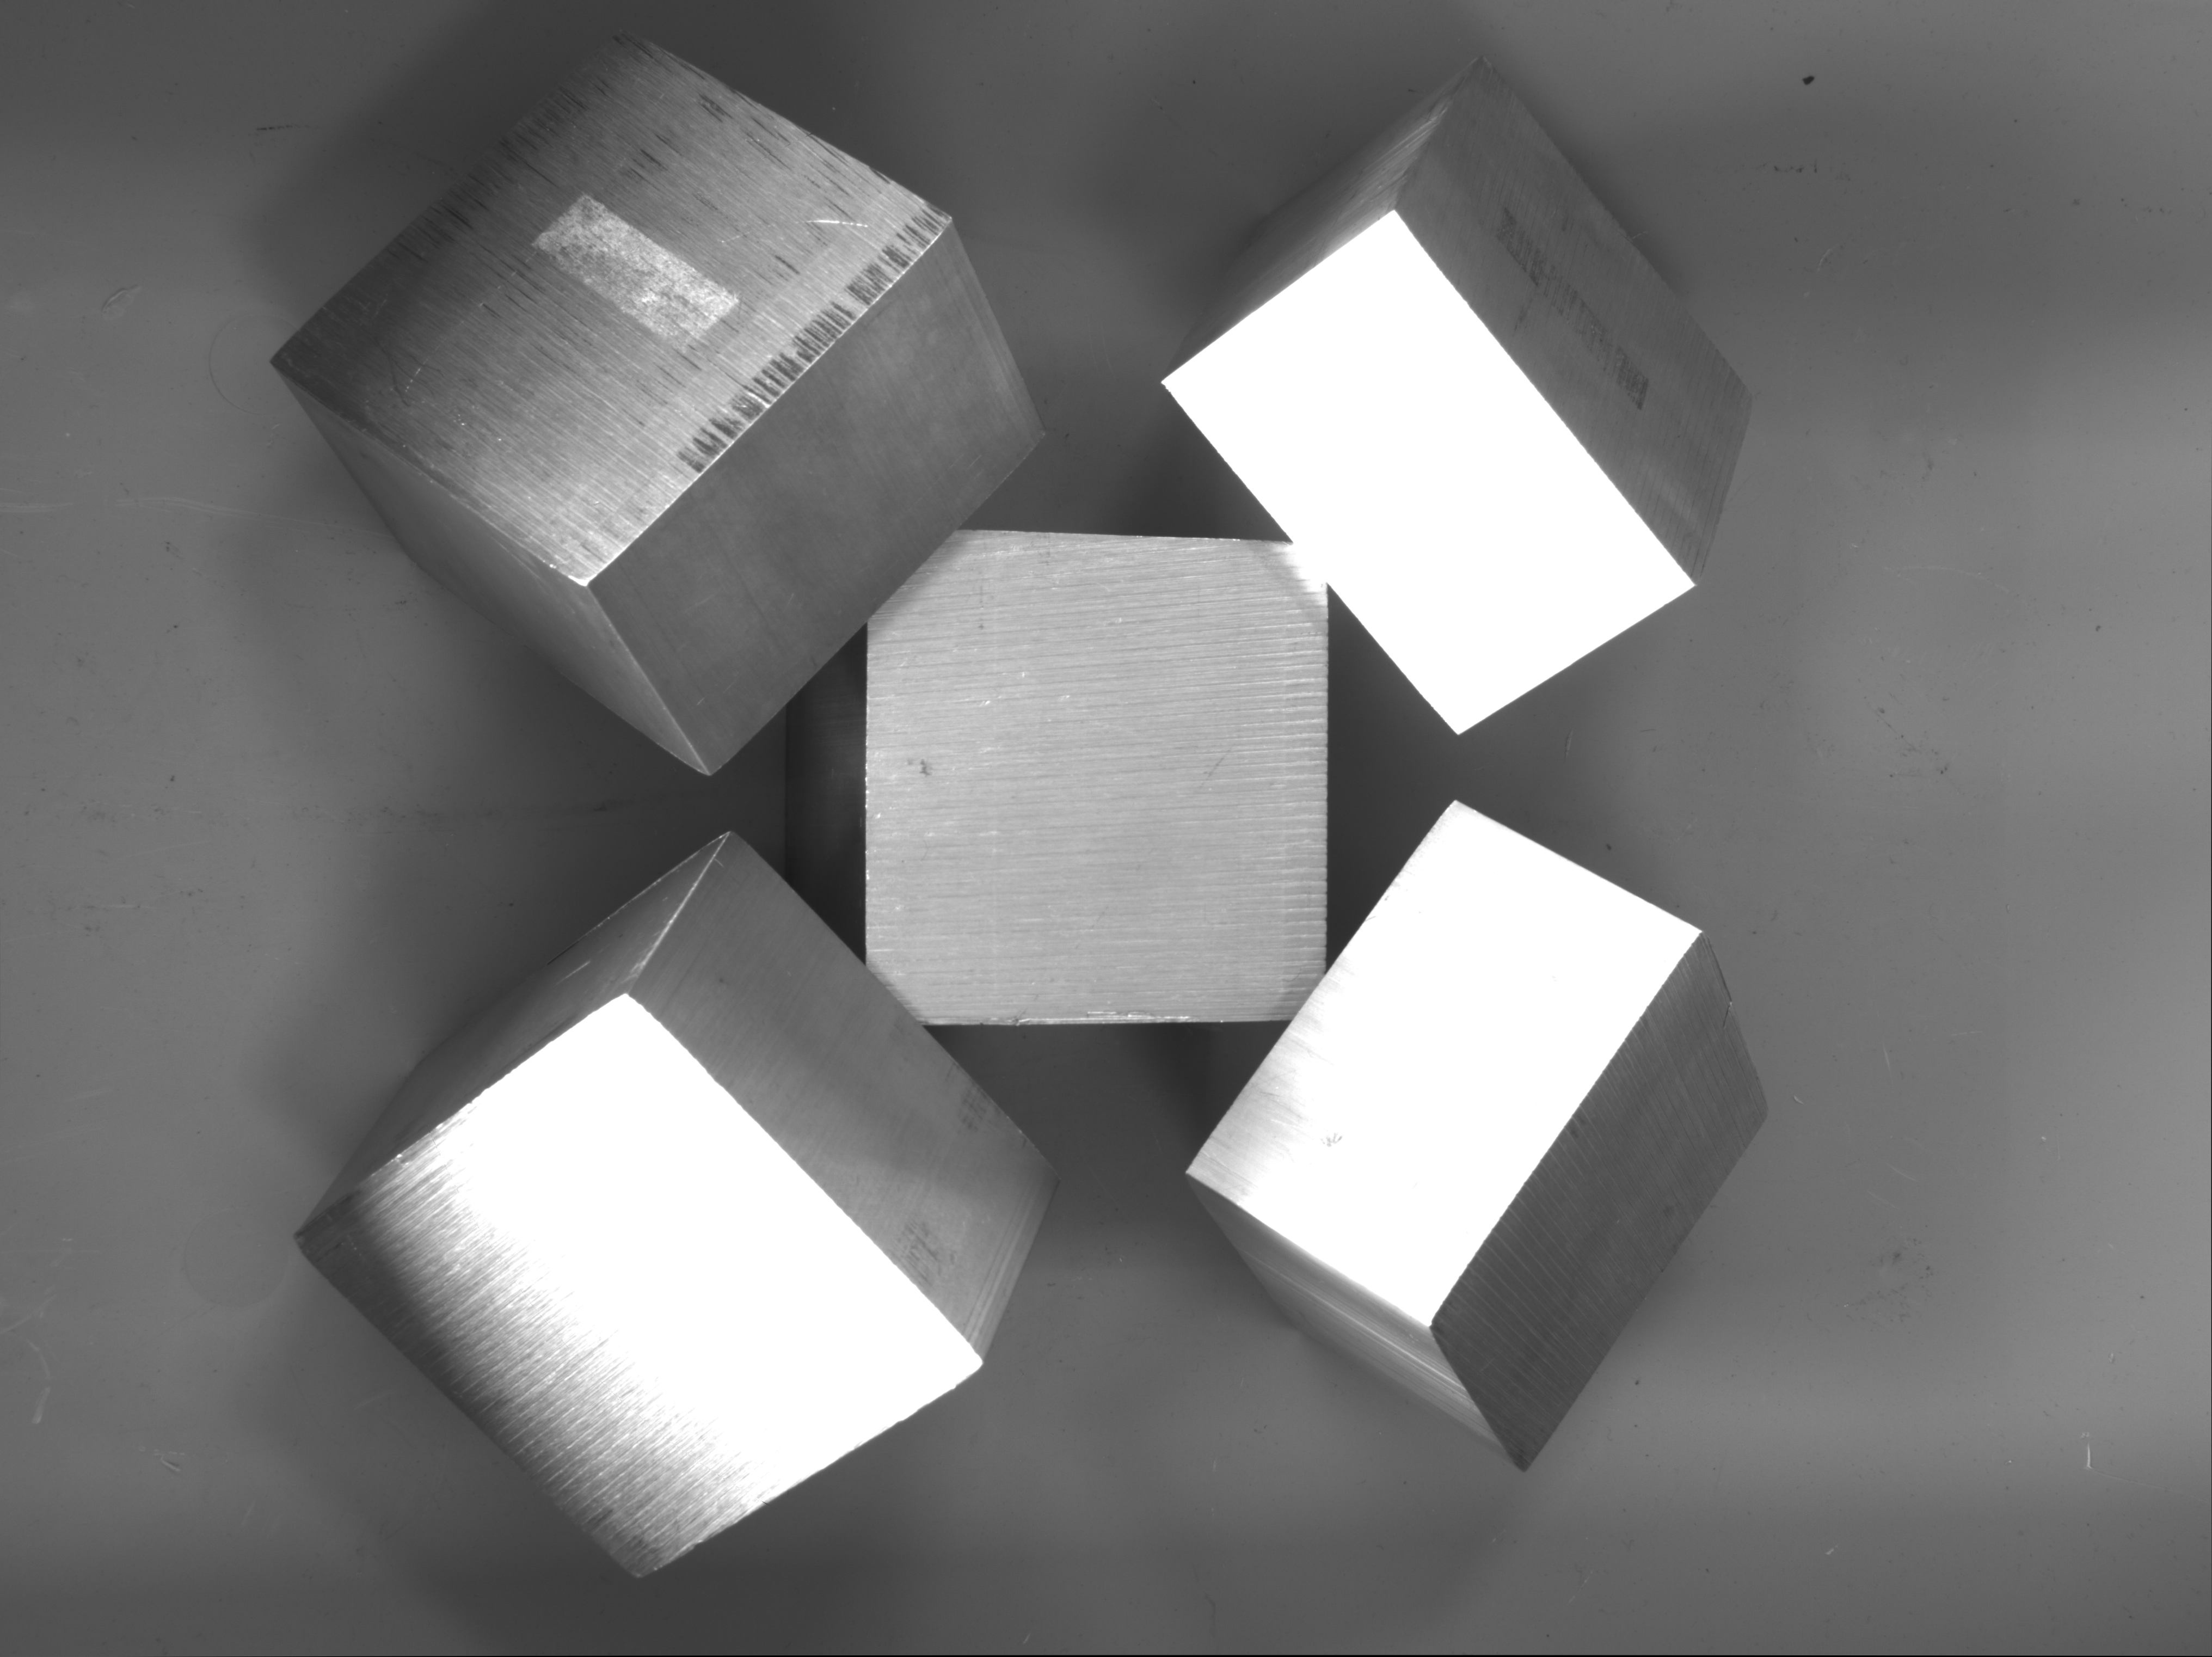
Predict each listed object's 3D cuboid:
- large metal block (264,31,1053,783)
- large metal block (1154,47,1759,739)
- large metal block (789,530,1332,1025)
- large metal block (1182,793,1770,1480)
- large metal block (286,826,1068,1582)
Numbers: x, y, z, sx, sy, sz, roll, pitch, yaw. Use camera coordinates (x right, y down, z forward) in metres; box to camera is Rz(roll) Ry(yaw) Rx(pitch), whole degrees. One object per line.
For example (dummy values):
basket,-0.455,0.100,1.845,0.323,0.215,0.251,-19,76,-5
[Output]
large metal block,-0.069,-0.067,0.578,0.080,0.080,0.050,-47,148,-14
large metal block,0.062,-0.076,0.629,0.080,0.050,0.080,48,32,-13
large metal block,-0.009,-0.008,0.624,0.080,0.050,0.080,1,90,-20
large metal block,0.066,0.054,0.629,0.080,0.050,0.080,-54,151,-13
large metal block,-0.067,0.060,0.582,0.080,0.050,0.080,-35,106,29
